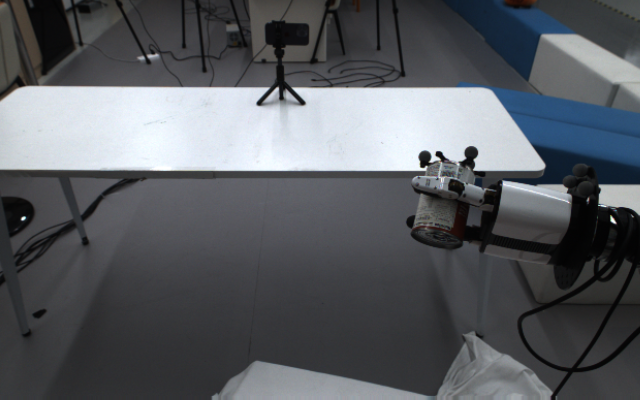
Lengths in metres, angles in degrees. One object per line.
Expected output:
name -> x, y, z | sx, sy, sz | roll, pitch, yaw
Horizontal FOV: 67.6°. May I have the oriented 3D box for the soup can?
soup can -> 0.167, 0.005, 0.647 | 0.067, 0.067, 0.101 | 12, 70, 14
